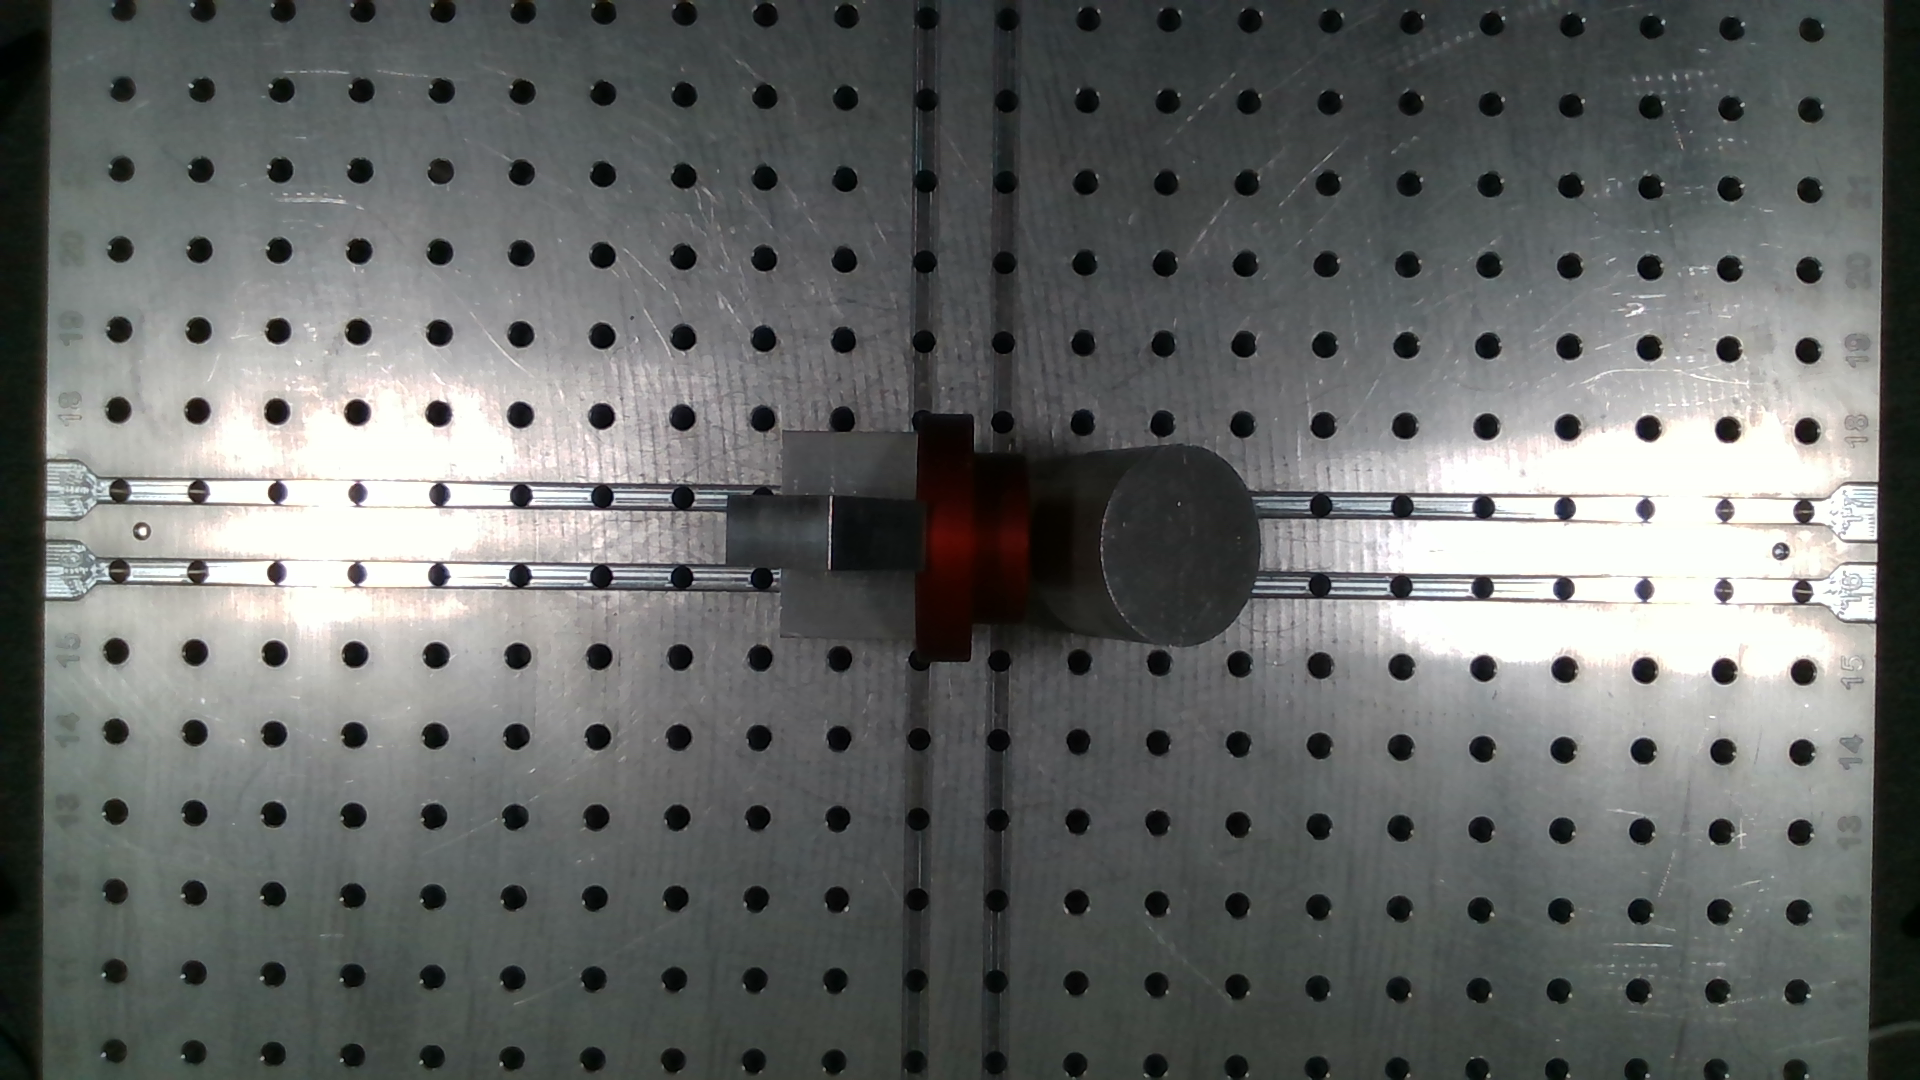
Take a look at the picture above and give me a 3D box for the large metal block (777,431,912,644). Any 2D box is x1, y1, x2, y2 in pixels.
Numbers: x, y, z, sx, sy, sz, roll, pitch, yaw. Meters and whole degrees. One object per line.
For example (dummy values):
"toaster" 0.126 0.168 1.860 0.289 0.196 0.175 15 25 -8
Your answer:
"large metal block" -0.044 -0.001 0.561 0.050 0.080 0.080 1 90 0

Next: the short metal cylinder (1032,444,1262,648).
"short metal cylinder" 0.076 0.002 0.560 0.080 0.050 0.080 -1 91 -30

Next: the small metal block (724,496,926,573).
"small metal block" -0.047 -0.002 0.486 0.050 0.050 0.025 2 91 38

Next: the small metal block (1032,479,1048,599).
"small metal block" 0.029 0.000 0.589 0.050 0.025 0.050 1 90 0

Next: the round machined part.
"round machined part" 0.004 0.000 0.542 0.042 0.098 0.098 1 90 0
